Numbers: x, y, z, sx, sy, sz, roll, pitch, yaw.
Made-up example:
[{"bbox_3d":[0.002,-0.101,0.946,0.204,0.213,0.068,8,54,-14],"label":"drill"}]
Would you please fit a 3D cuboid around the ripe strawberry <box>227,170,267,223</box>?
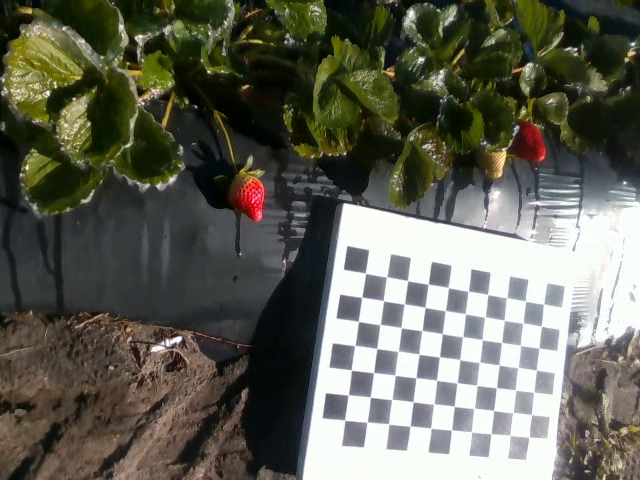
[{"bbox_3d":[-0.064,-0.038,0.561,0.039,0.053,0.041,-13,-14,-19],"label":"ripe strawberry"}]
